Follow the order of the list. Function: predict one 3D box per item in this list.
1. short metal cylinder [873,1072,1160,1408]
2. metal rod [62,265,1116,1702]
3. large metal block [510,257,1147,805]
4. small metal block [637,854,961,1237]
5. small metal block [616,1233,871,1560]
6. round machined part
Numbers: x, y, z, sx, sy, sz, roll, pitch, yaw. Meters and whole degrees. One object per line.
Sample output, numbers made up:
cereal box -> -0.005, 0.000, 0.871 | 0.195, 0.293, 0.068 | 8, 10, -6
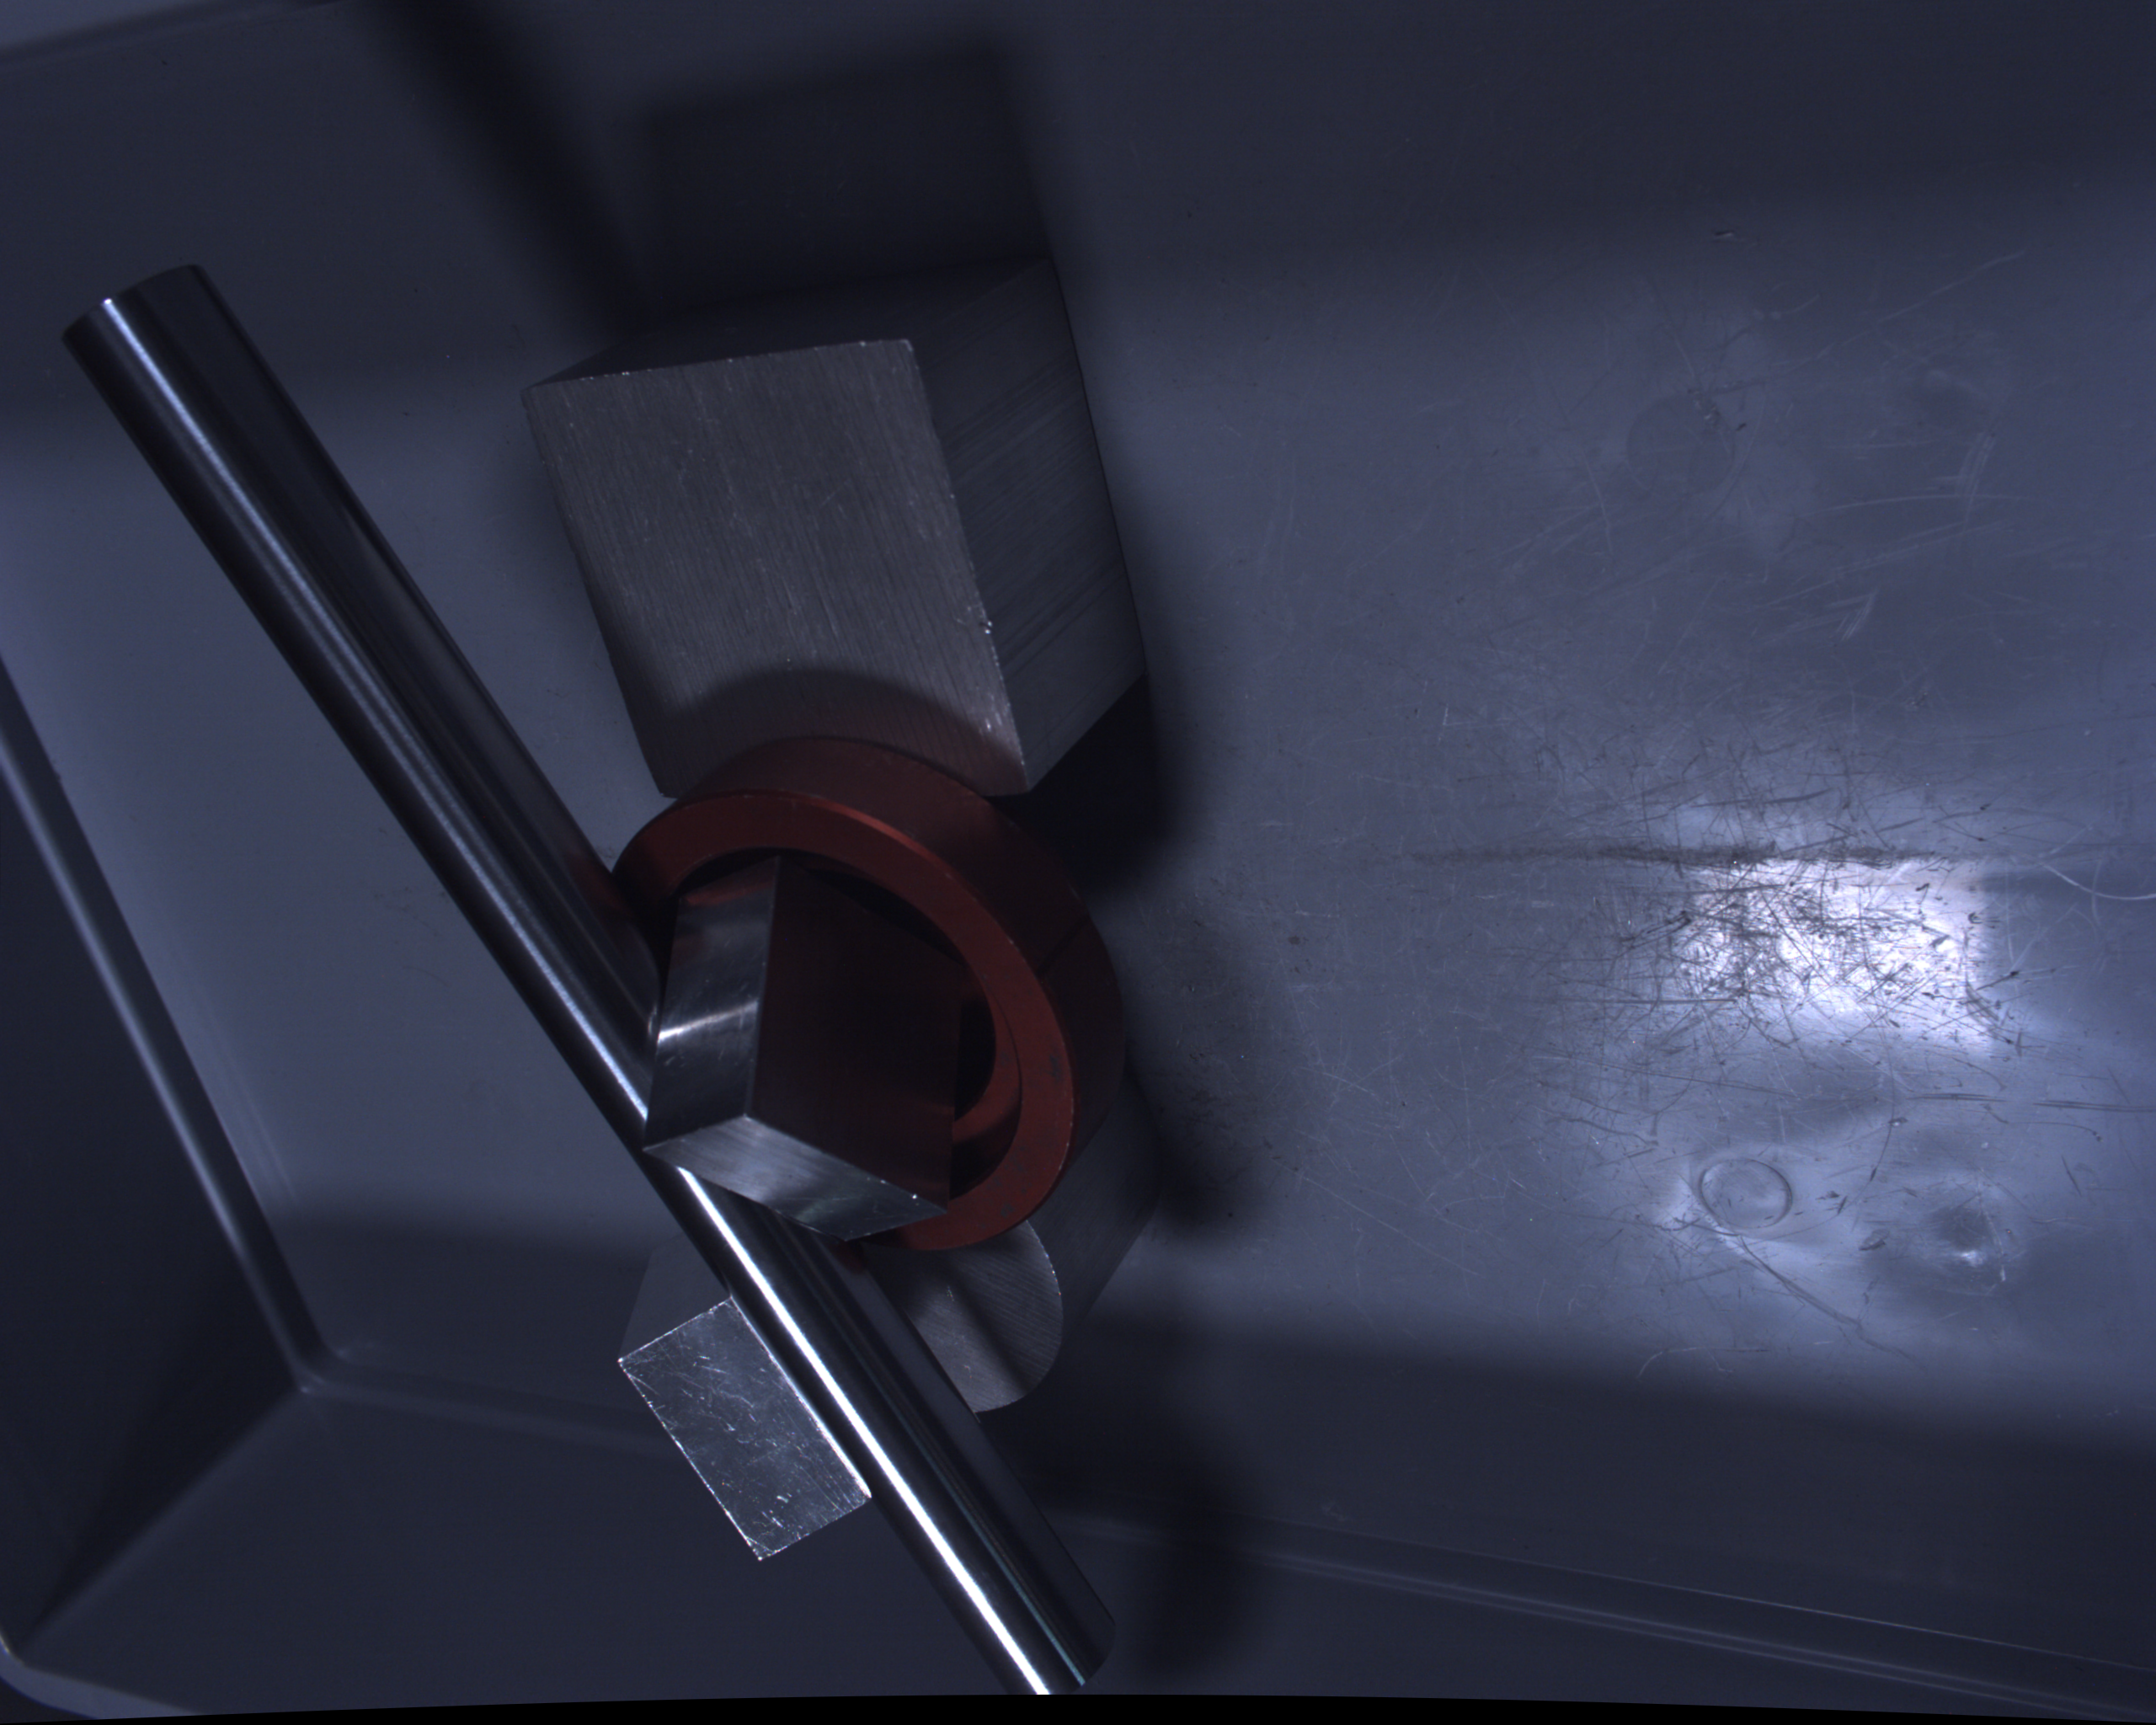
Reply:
short metal cylinder -> -0.029, 0.070, 0.449 | 0.080, 0.050, 0.079 | 13, 124, 20
metal rod -> -0.079, 0.033, 0.377 | 0.025, 0.025, 0.299 | -21, 108, 35
large metal block -> -0.042, -0.057, 0.374 | 0.080, 0.050, 0.080 | 0, 119, 28
small metal block -> -0.048, 0.033, 0.373 | 0.025, 0.050, 0.050 | -21, 142, 32
small metal block -> -0.065, 0.101, 0.418 | 0.025, 0.050, 0.050 | -30, 104, 3
round machined part -> -0.036, 0.020, 0.388 | 0.098, 0.042, 0.097 | 13, 124, 20
